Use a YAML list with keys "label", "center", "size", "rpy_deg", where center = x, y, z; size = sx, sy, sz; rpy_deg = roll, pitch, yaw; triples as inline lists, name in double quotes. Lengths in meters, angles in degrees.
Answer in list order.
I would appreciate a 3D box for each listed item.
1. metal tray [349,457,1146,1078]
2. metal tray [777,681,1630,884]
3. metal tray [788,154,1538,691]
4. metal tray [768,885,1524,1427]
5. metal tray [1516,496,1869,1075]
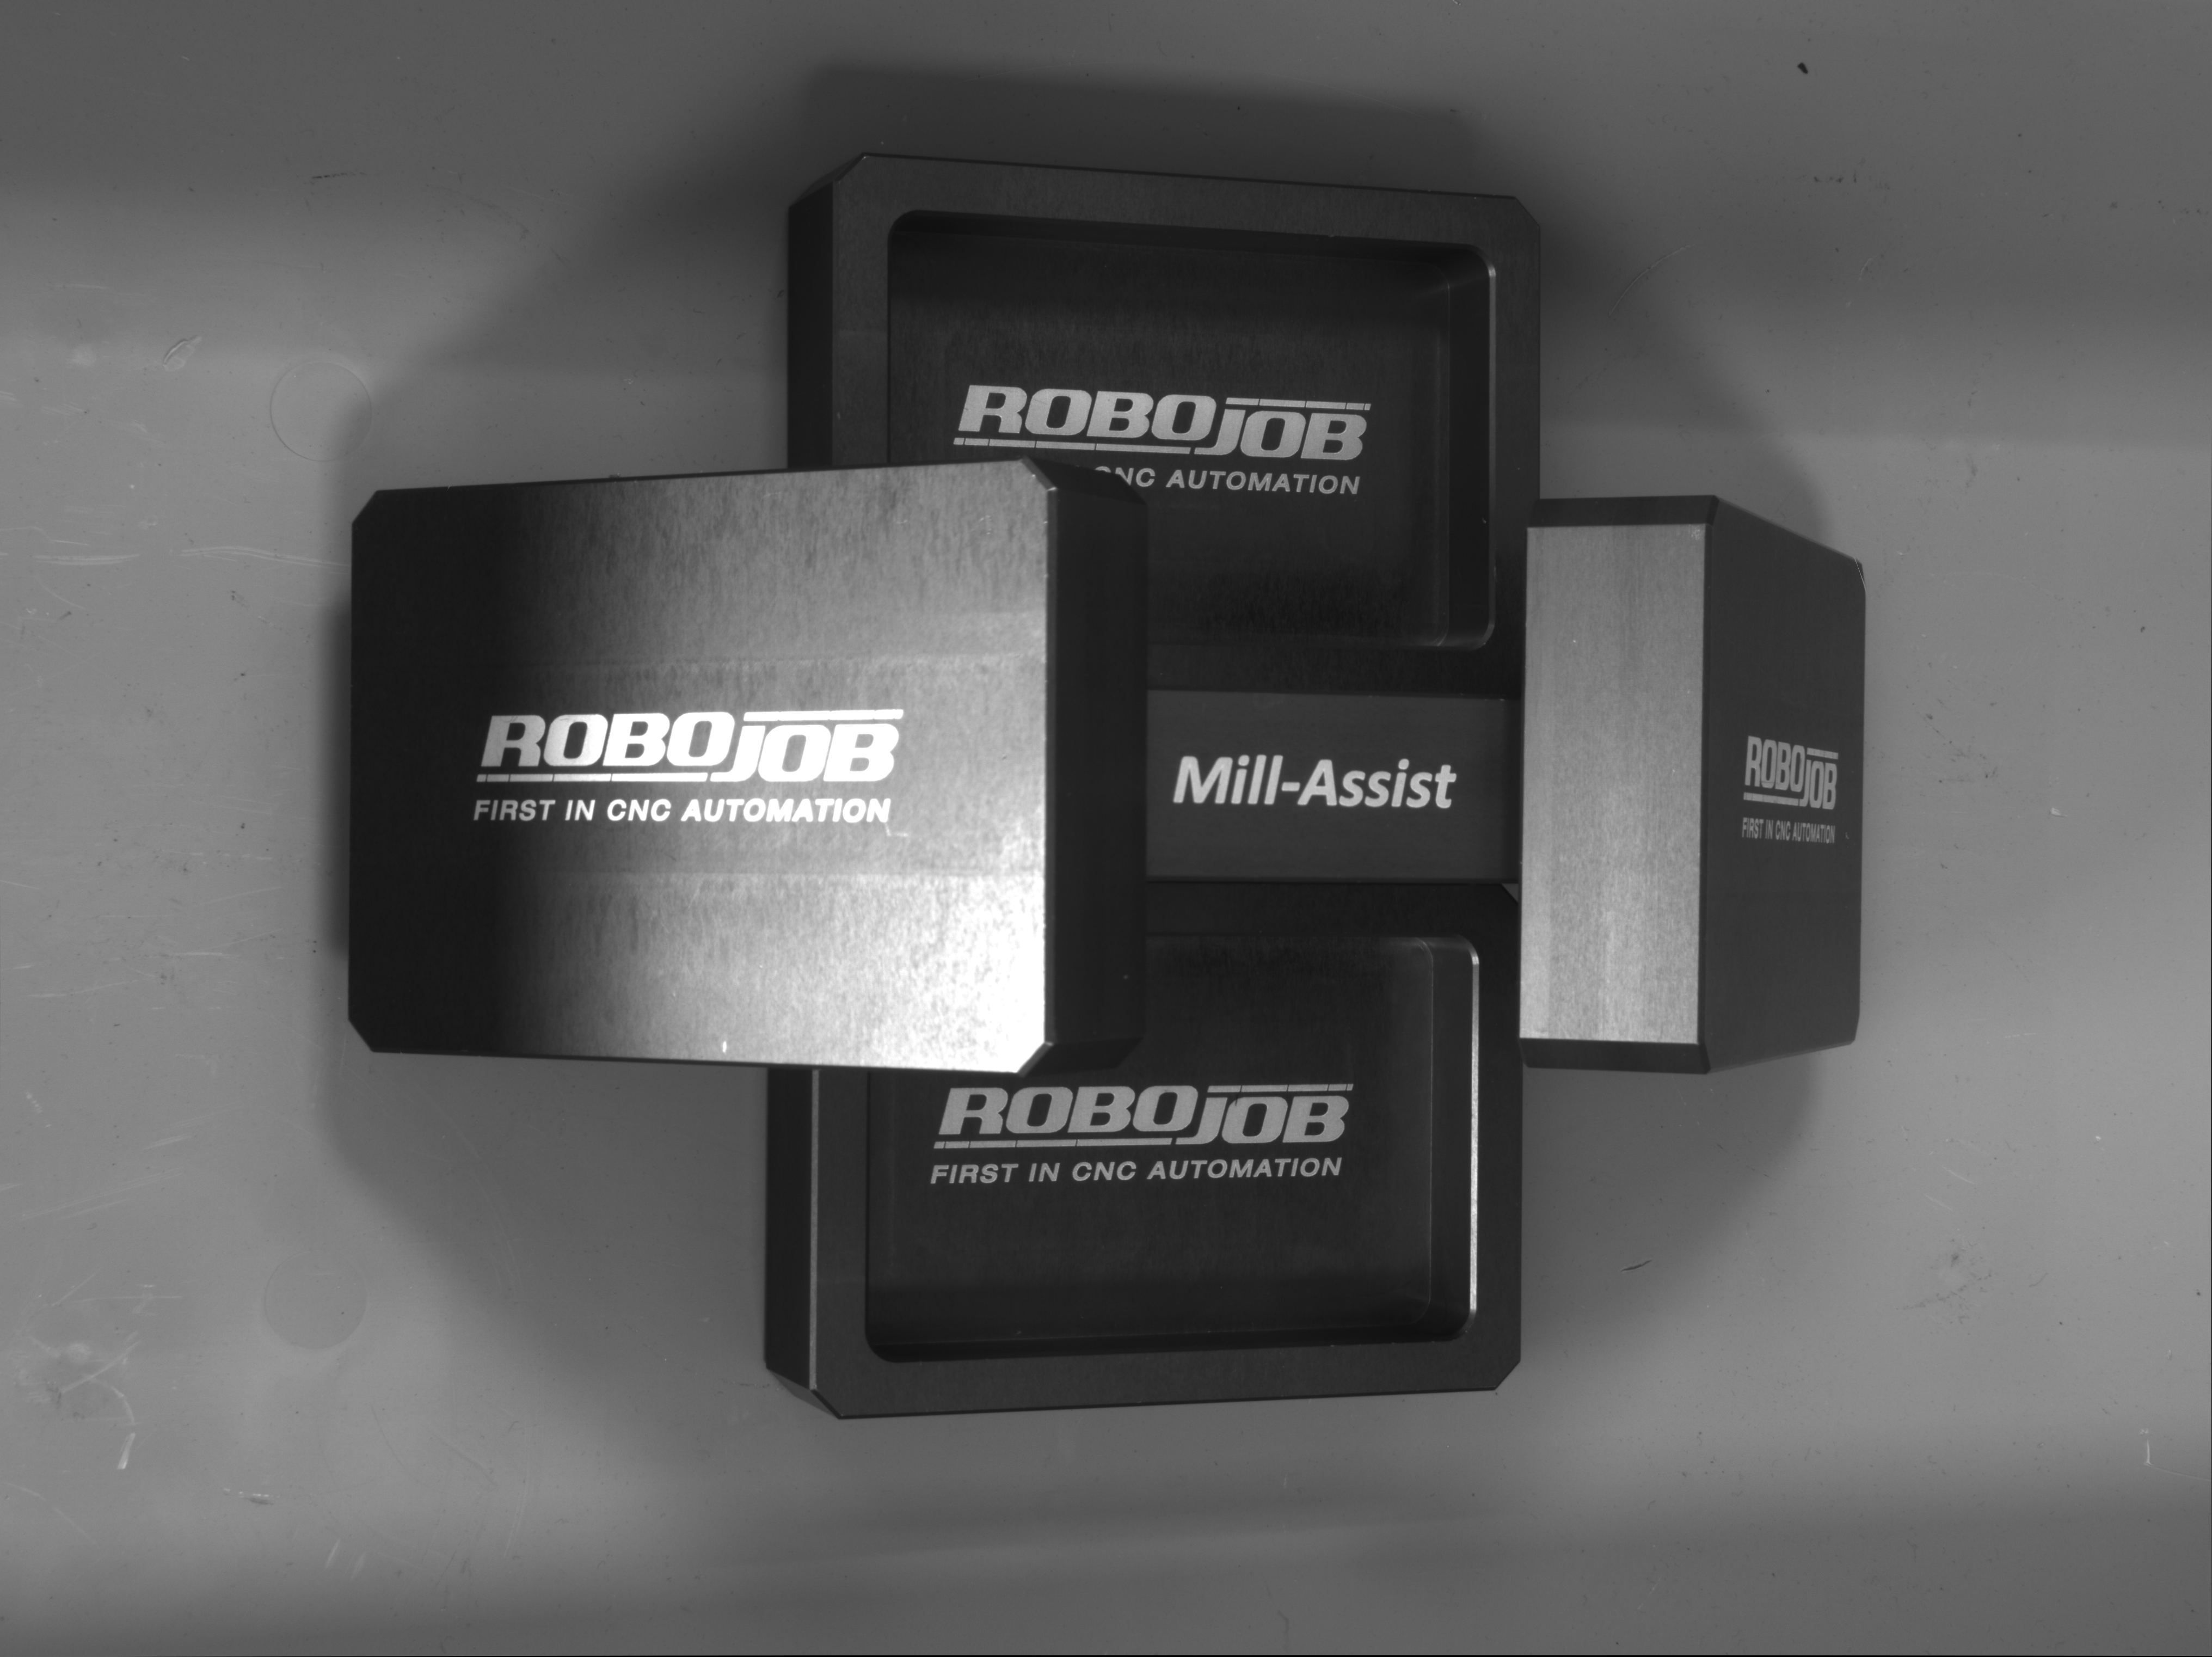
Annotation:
- label: "metal tray"
  center: [-0.058, -0.009, 0.572]
  size: [0.030, 0.130, 0.090]
  rpy_deg: [1, 89, -62]
- label: "metal tray"
  center: [0.017, -0.006, 0.613]
  size: [0.130, 0.090, 0.030]
  rpy_deg: [1, 90, -20]
- label: "metal tray"
  center: [0.011, -0.067, 0.643]
  size: [0.130, 0.030, 0.090]
  rpy_deg: [0, 90, -21]
- label: "metal tray"
  center: [0.008, 0.054, 0.640]
  size: [0.130, 0.030, 0.090]
  rpy_deg: [1, 90, -21]
- label: "metal tray"
  center: [0.103, -0.006, 0.630]
  size: [0.030, 0.130, 0.090]
  rpy_deg: [0, 89, 23]
